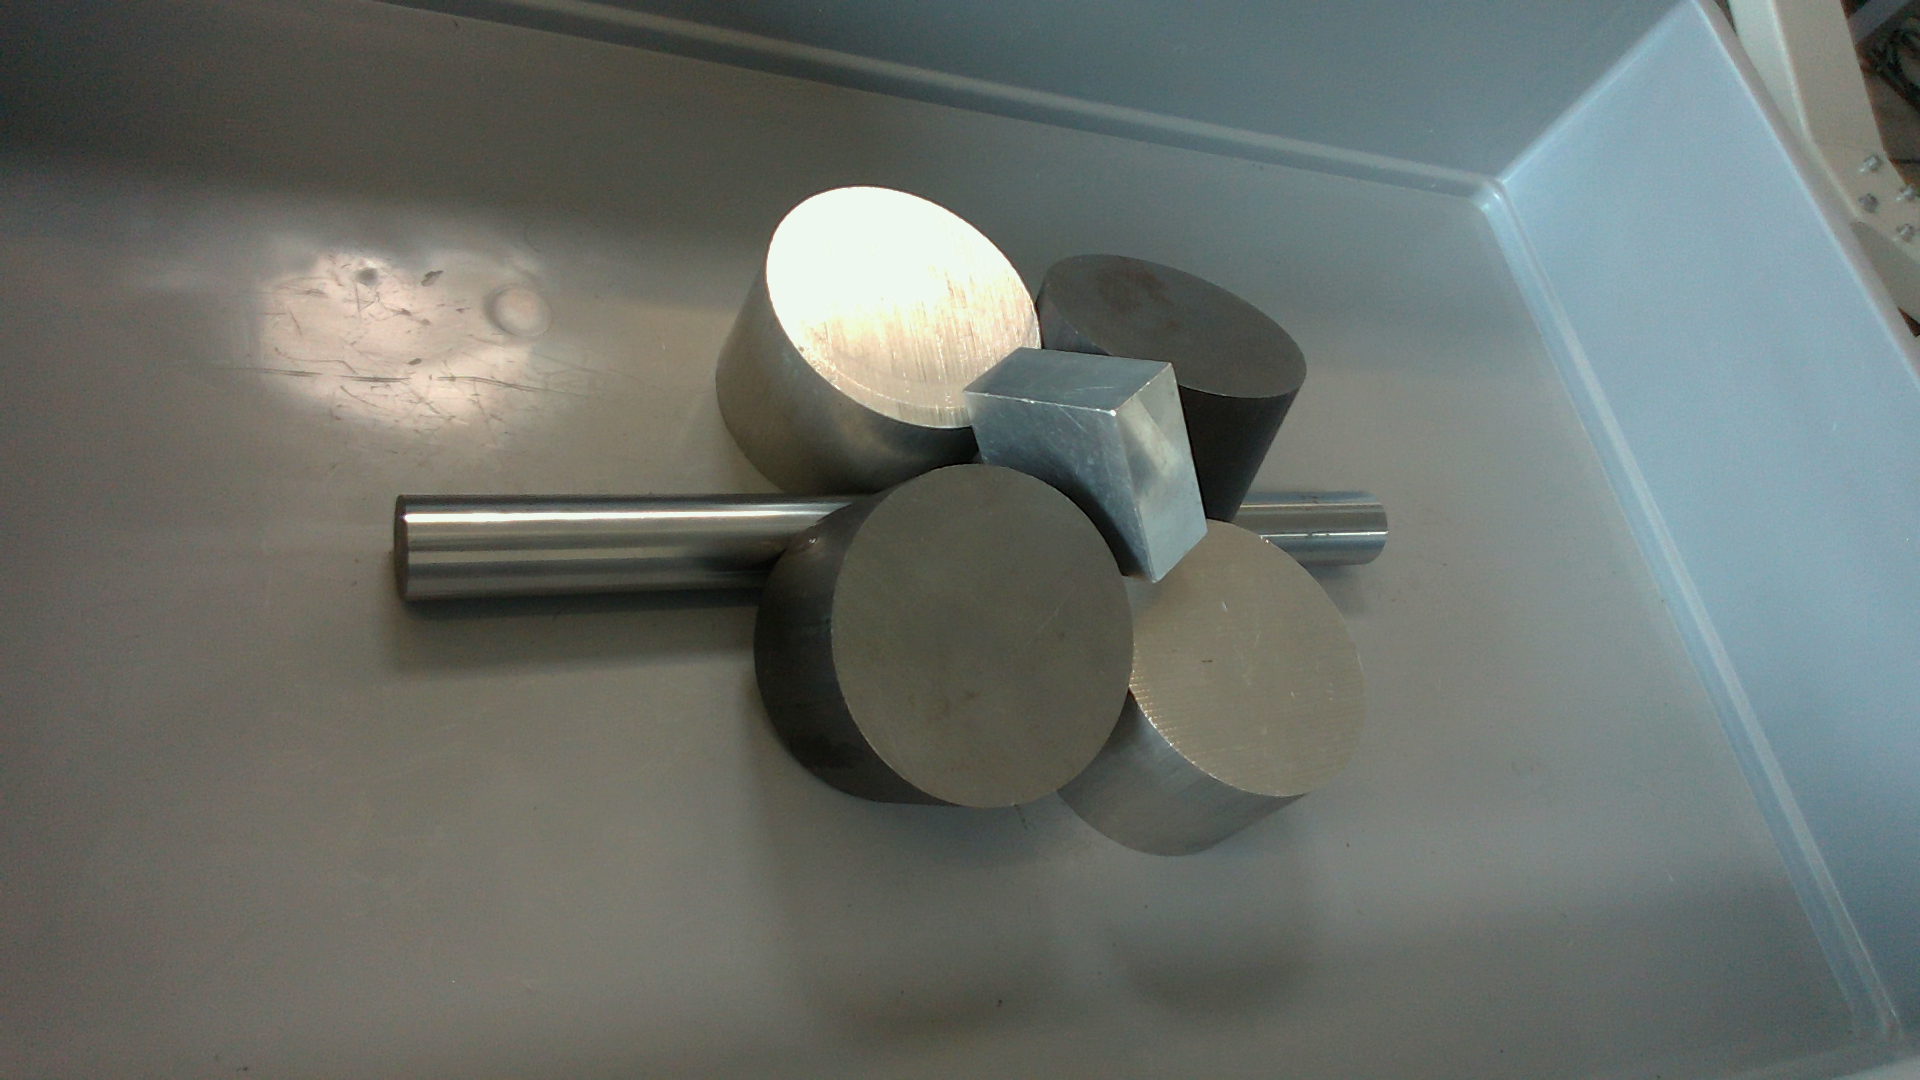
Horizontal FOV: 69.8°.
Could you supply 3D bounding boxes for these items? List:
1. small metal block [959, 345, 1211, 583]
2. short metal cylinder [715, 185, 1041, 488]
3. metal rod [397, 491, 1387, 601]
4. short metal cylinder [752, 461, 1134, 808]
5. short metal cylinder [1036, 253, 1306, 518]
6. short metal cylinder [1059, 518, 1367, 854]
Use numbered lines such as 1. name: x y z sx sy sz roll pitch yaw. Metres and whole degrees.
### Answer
1. small metal block: 0.033 -0.021 0.356 0.025 0.050 0.050 -41 127 -33
2. short metal cylinder: -0.024 -0.053 0.391 0.080 0.050 0.080 14 56 -21
3. metal rod: 0.002 -0.002 0.390 0.301 0.025 0.025 -1 62 -29
4. short metal cylinder: -0.005 0.025 0.339 0.080 0.050 0.080 5 79 -28
5. short metal cylinder: 0.055 -0.044 0.412 0.080 0.050 0.080 14 34 -9
6. short metal cylinder: 0.064 0.041 0.381 0.080 0.050 0.080 14 56 -21
